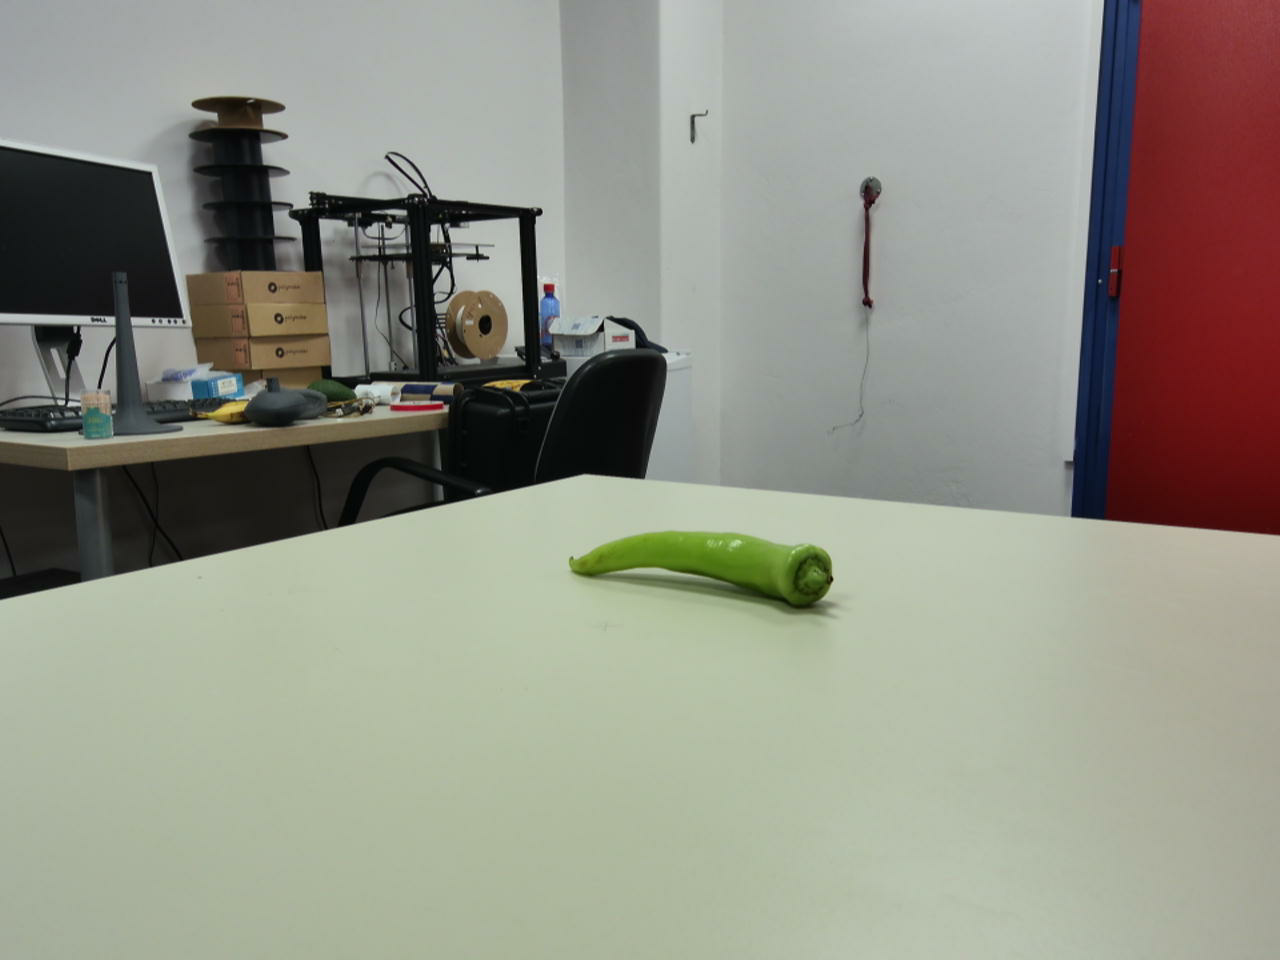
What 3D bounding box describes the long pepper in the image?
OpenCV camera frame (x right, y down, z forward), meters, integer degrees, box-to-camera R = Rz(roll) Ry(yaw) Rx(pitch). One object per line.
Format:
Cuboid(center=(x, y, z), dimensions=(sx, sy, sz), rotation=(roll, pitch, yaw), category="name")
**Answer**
Cuboid(center=(0.037, 0.049, 0.625), dimensions=(0.197, 0.038, 0.046), rotation=(6, 8, 37), category="long pepper")
